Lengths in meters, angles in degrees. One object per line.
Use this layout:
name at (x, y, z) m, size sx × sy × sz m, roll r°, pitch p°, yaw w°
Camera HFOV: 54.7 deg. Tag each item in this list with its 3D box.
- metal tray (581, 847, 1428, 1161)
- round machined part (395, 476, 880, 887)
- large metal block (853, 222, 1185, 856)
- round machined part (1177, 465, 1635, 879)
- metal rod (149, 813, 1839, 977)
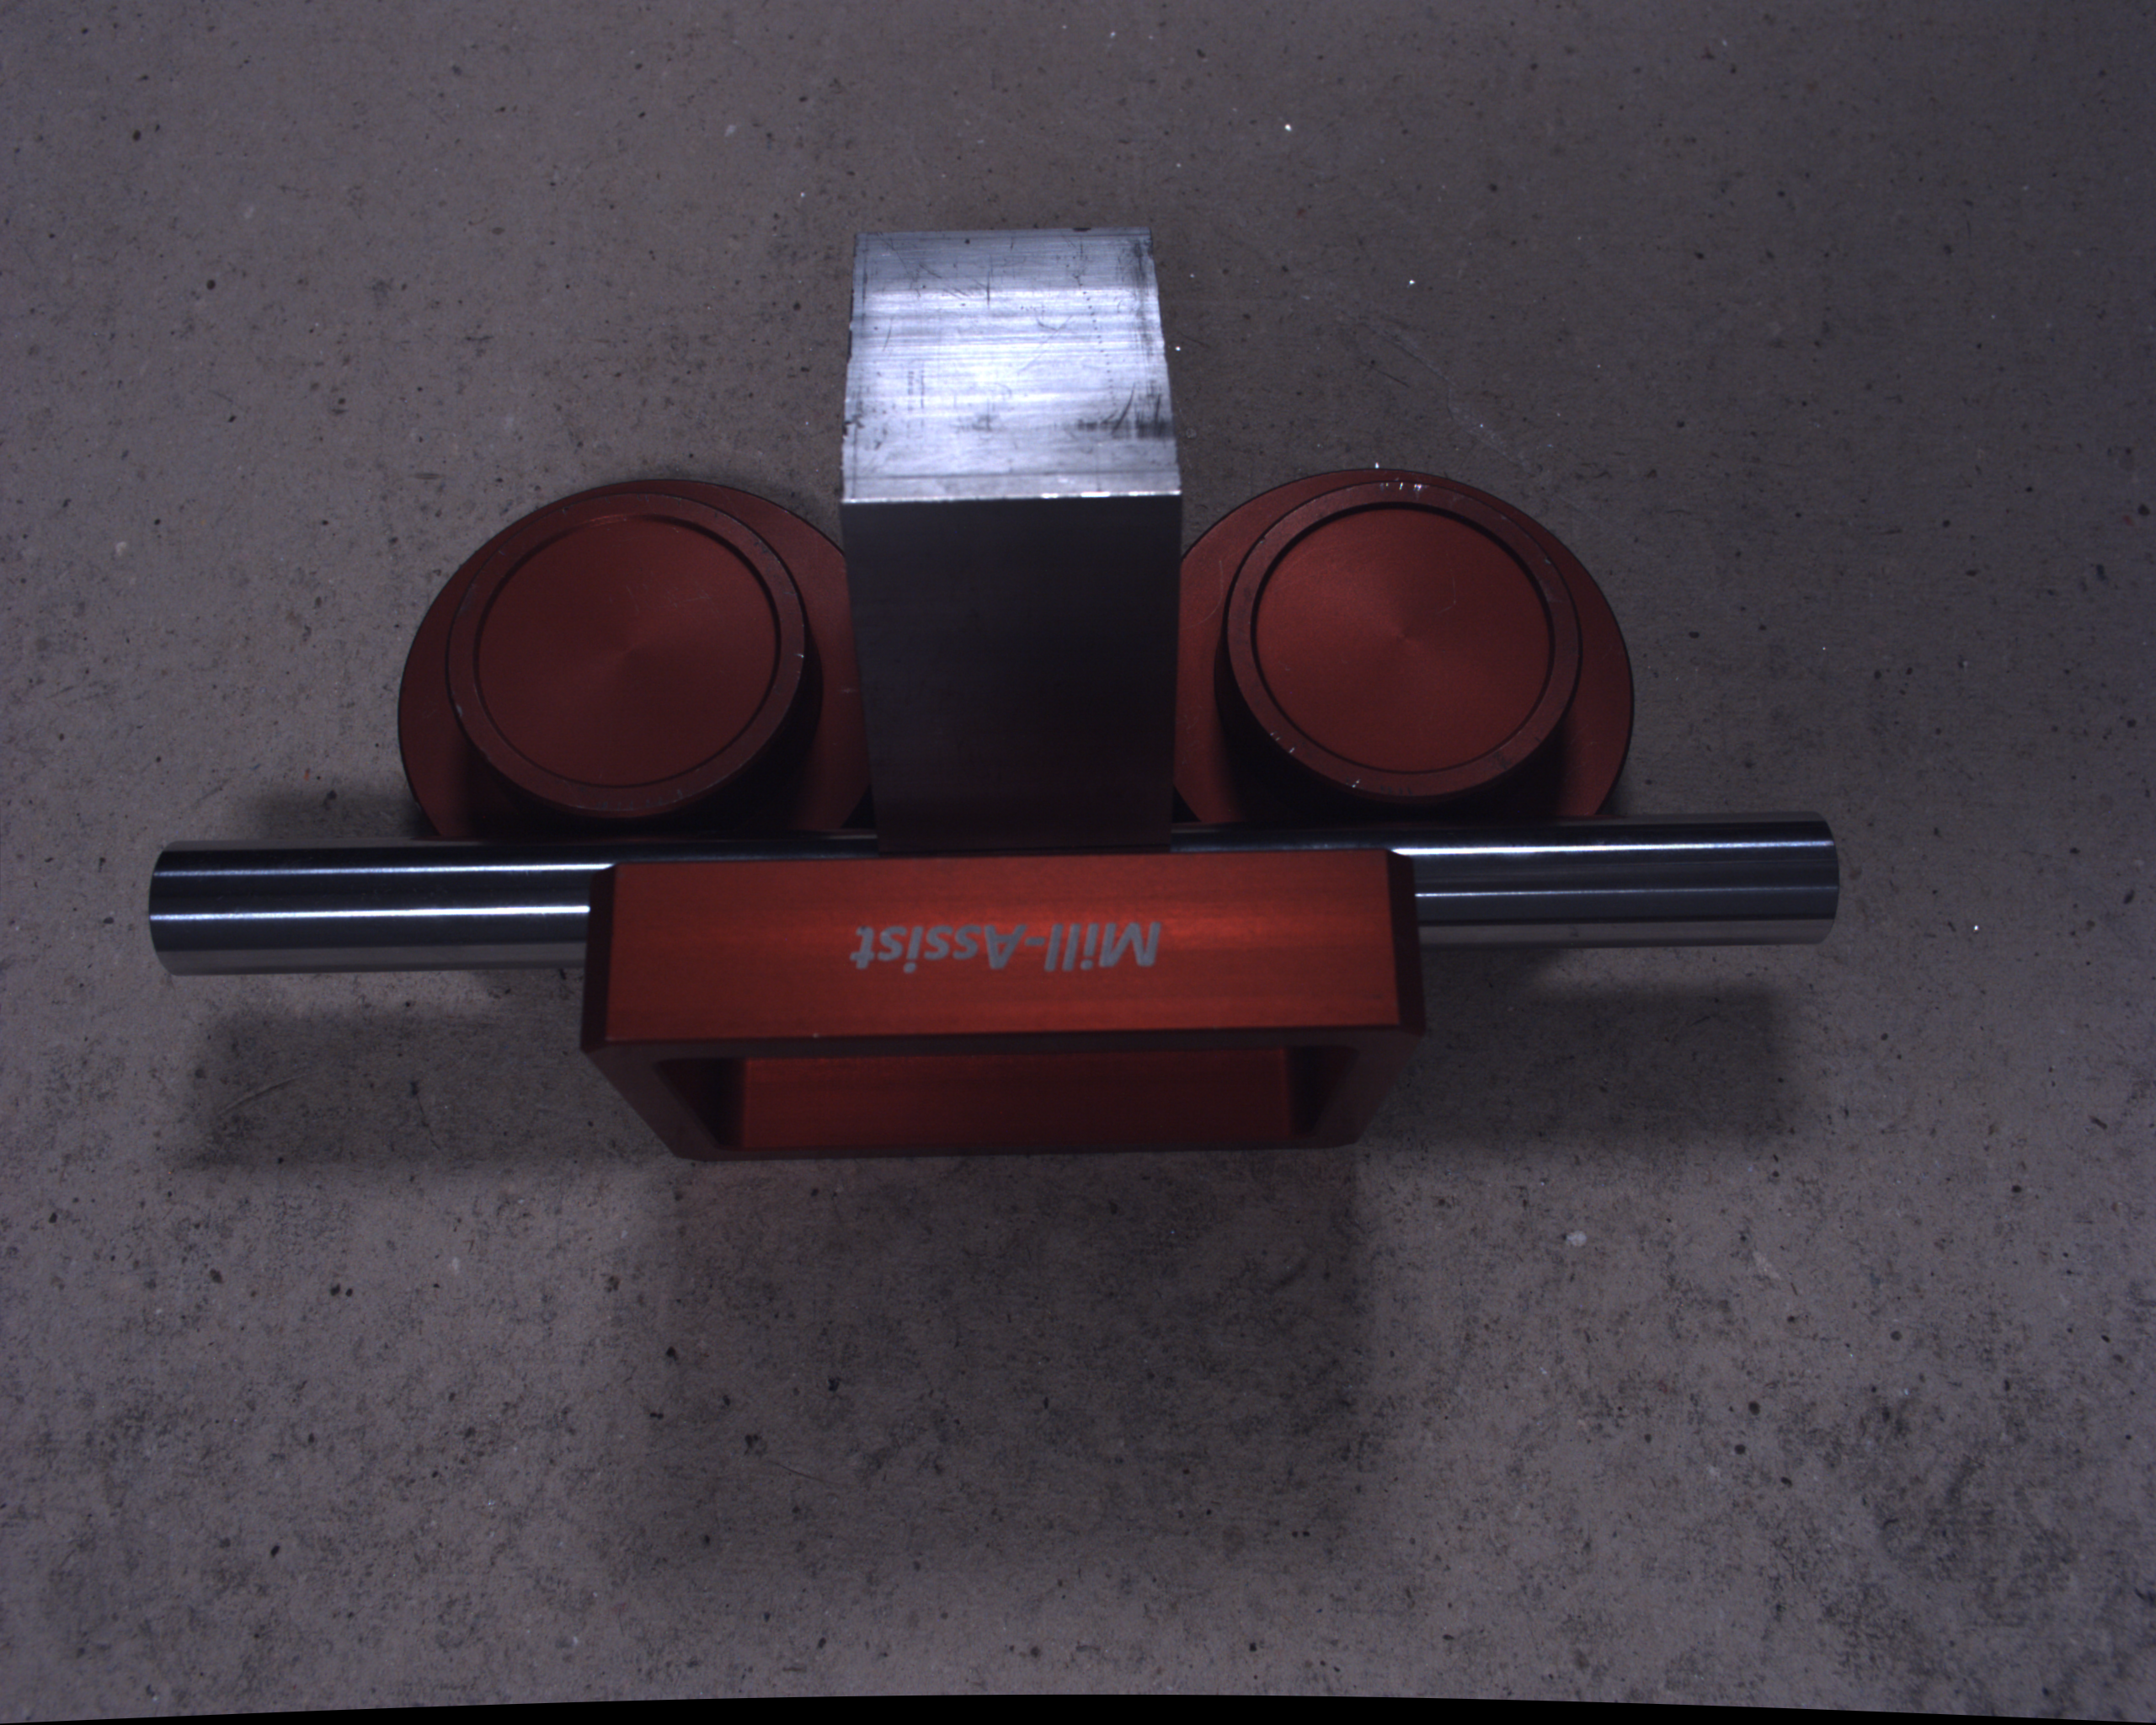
metal tray at (-0.012, 0.027, 0.364) m, size 0.131 × 0.090 × 0.030 m, roll -1°, pitch 70°, yaw -1°
round machined part at (-0.085, -0.034, 0.410) m, size 0.099 × 0.042 × 0.098 m, roll 0°, pitch 70°, yaw -1°
large metal block at (-0.010, -0.057, 0.373) m, size 0.050 × 0.080 × 0.080 m, roll -2°, pitch 47°, yaw -2°
round machined part at (0.061, -0.037, 0.414) m, size 0.099 × 0.042 × 0.098 m, roll 0°, pitch 70°, yaw -1°
metal rod at (-0.014, 0.006, 0.385) m, size 0.302 × 0.025 × 0.025 m, roll -1°, pitch 70°, yaw -1°
